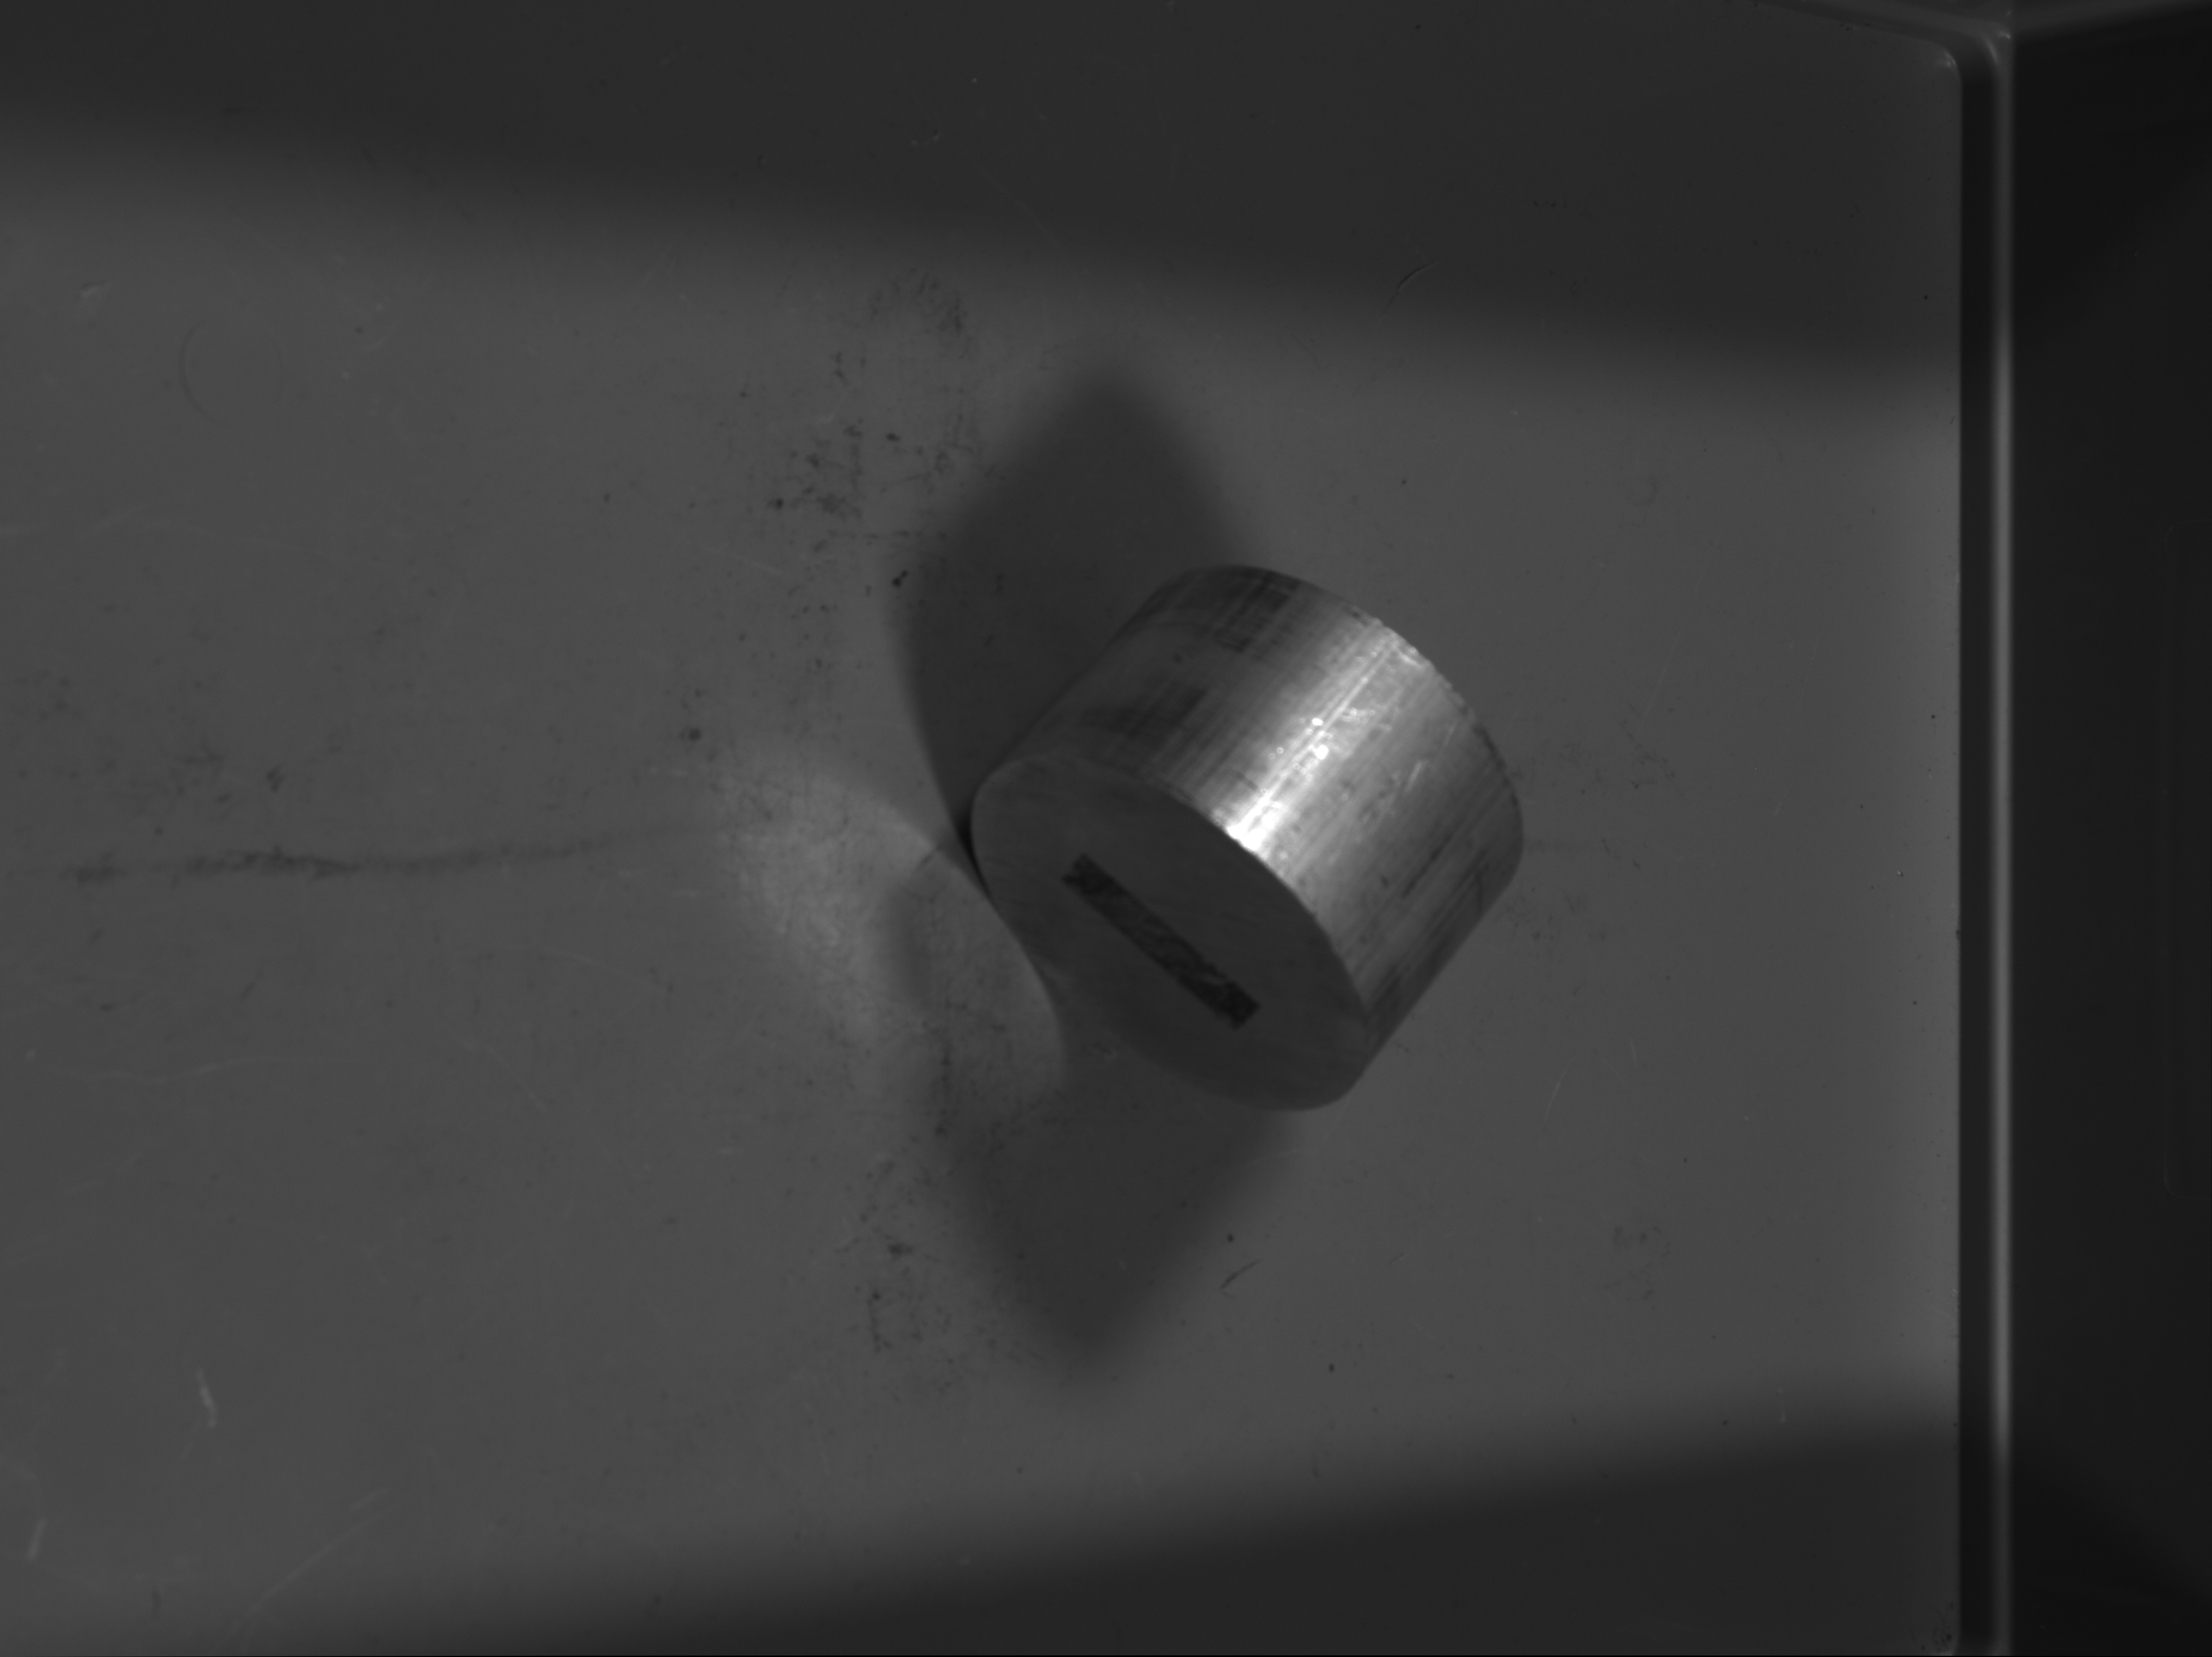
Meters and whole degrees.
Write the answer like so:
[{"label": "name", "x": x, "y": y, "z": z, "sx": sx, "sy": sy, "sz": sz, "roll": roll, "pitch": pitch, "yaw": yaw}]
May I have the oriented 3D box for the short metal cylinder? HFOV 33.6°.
[{"label": "short metal cylinder", "x": 0.030, "y": 0.002, "z": 0.624, "sx": 0.050, "sy": 0.080, "sz": 0.080, "roll": -49, "pitch": 119, "yaw": -29}]
